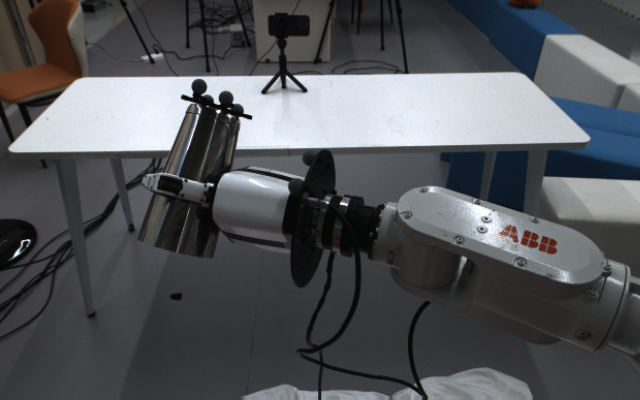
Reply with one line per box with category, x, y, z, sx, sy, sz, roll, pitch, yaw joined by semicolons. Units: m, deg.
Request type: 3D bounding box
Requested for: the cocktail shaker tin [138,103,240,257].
cocktail shaker tin;-0.150;-0.023;0.586;0.093;0.170;0.093;15;-4;1
